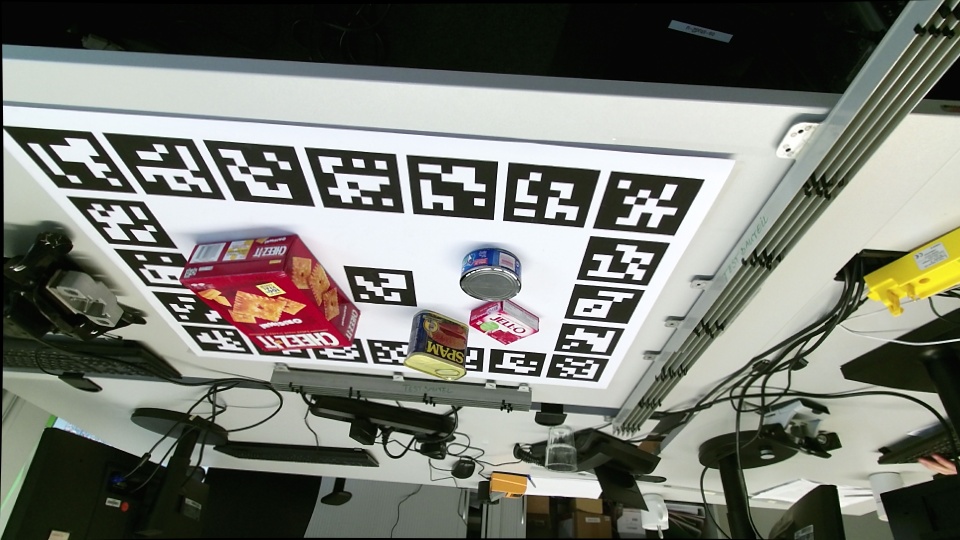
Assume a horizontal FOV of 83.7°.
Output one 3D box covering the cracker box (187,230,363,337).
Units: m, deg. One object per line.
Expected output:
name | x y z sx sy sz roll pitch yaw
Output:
cracker box | -0.305 0.034 0.826 0.165 0.071 0.214 -4 145 16

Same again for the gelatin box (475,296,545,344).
gelatin box | 0.049 0.084 0.874 0.090 0.030 0.073 34 139 -30

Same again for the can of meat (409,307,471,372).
can of meat | -0.066 0.117 0.904 0.102 0.083 0.058 22 142 -24

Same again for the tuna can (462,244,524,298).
tuna can | 0.019 0.002 0.756 0.086 0.033 0.086 3 141 2
